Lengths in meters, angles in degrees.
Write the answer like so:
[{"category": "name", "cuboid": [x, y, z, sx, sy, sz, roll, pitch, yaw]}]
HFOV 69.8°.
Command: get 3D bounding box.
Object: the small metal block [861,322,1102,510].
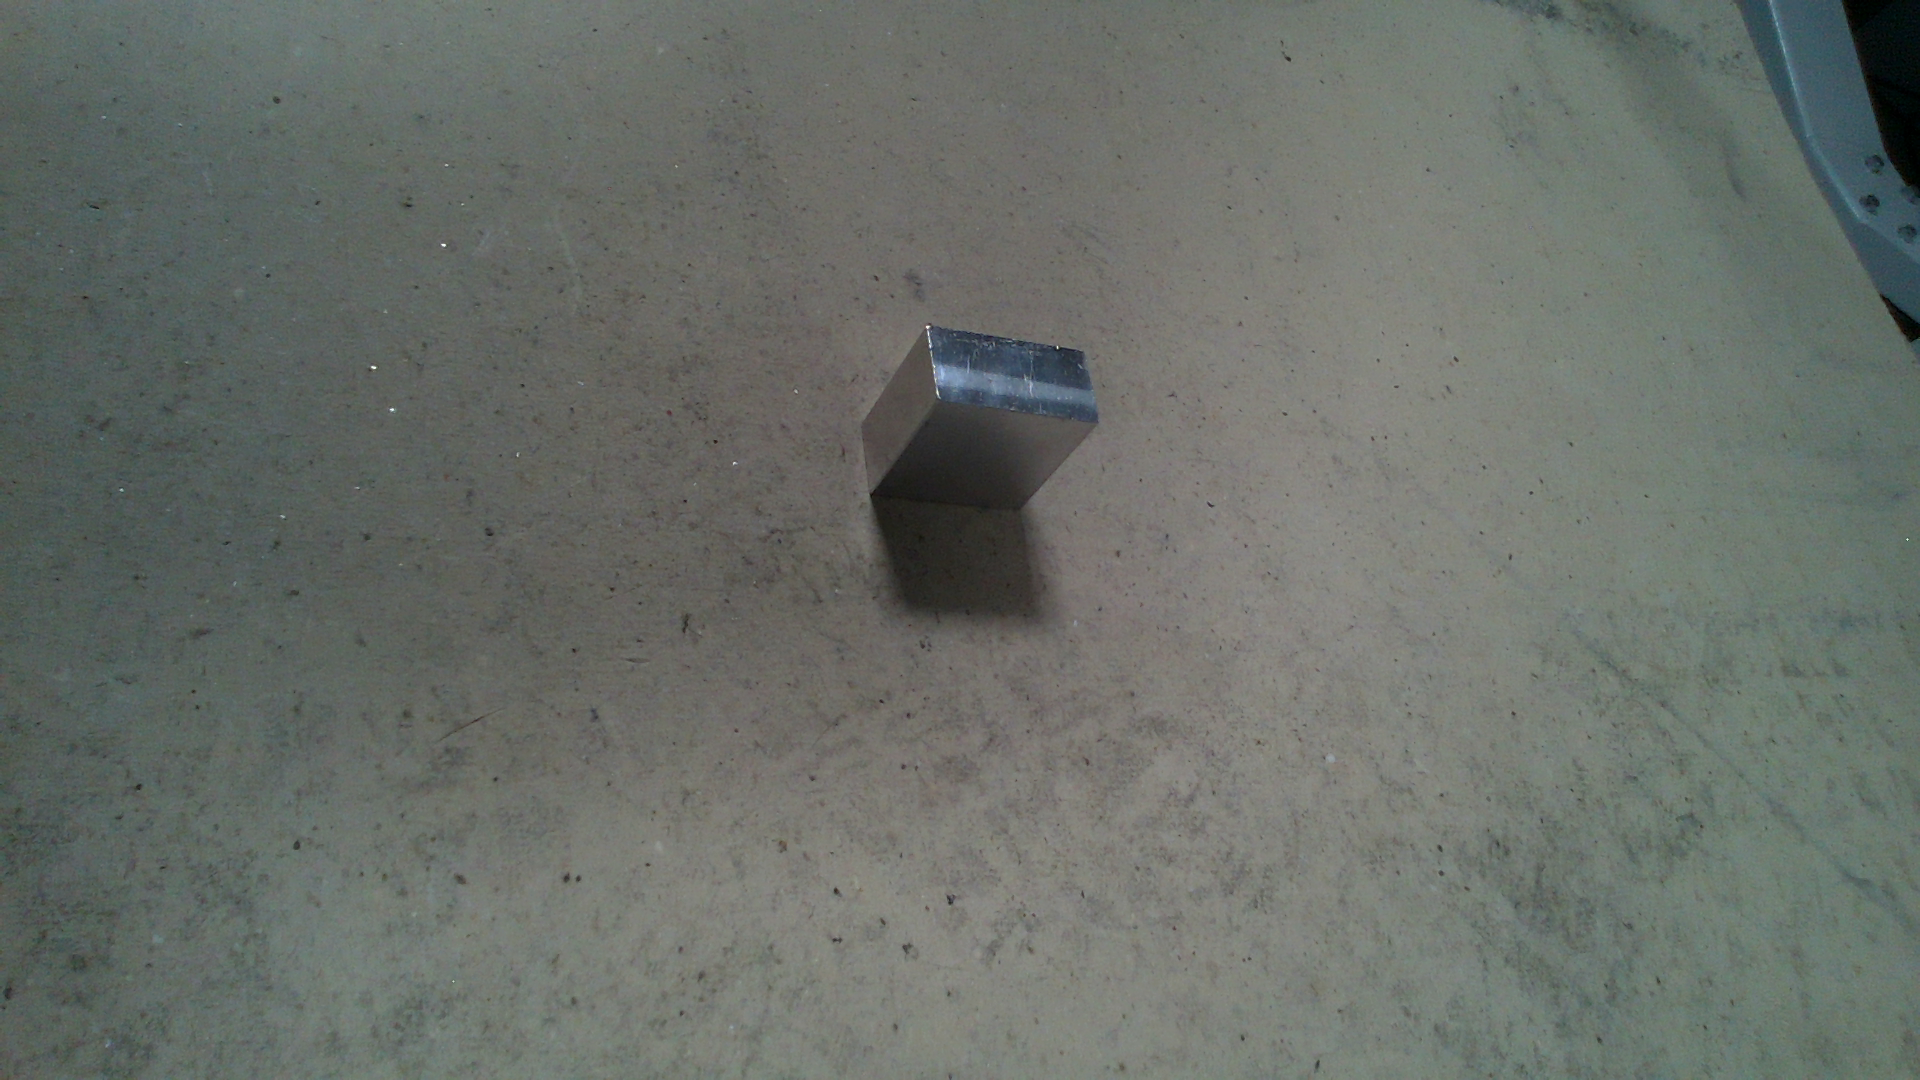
[{"category": "small metal block", "cuboid": [0.005, -0.034, 0.397, 0.050, 0.050, 0.025, 5, 59, -25]}]
